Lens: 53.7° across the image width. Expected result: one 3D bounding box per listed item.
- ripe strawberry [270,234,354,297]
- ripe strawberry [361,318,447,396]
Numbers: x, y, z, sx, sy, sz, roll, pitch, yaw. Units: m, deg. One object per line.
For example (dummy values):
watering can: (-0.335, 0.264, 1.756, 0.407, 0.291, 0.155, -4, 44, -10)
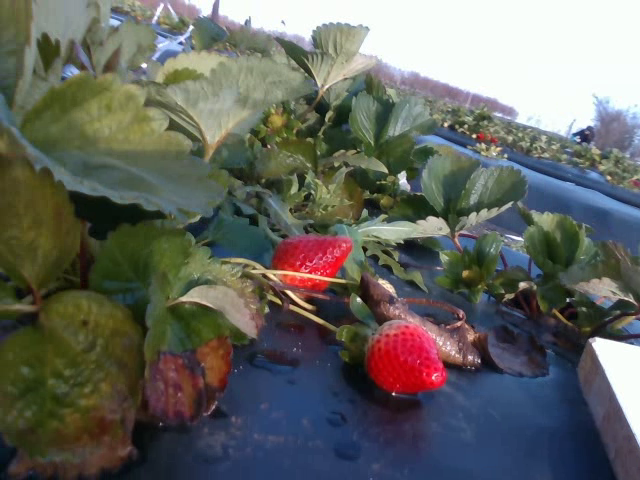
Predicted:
ripe strawberry: (-0.005, 0.006, 0.321, 0.048, 0.032, 0.040, -31, 24, 8)
ripe strawberry: (0.036, 0.049, 0.252, 0.035, 0.030, 0.043, -3, 23, -31)
